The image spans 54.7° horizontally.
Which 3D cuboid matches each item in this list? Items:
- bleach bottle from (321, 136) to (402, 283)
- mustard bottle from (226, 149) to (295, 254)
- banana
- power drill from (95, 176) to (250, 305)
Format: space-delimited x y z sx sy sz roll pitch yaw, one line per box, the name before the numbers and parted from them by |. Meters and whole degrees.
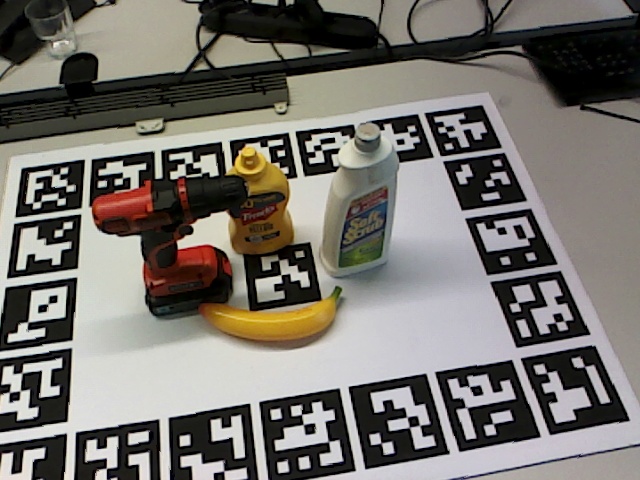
bleach bottle | 0.052 -0.039 0.813 0.102 0.250 0.068 -16 58 -10
mustard bottle | -0.086 -0.055 0.853 0.096 0.191 0.058 -8 56 -6
banana | -0.055 0.103 0.834 0.197 0.039 0.074 -7 60 -1
power drill | -0.175 0.000 0.796 0.184 0.186 0.057 -10 49 -9
